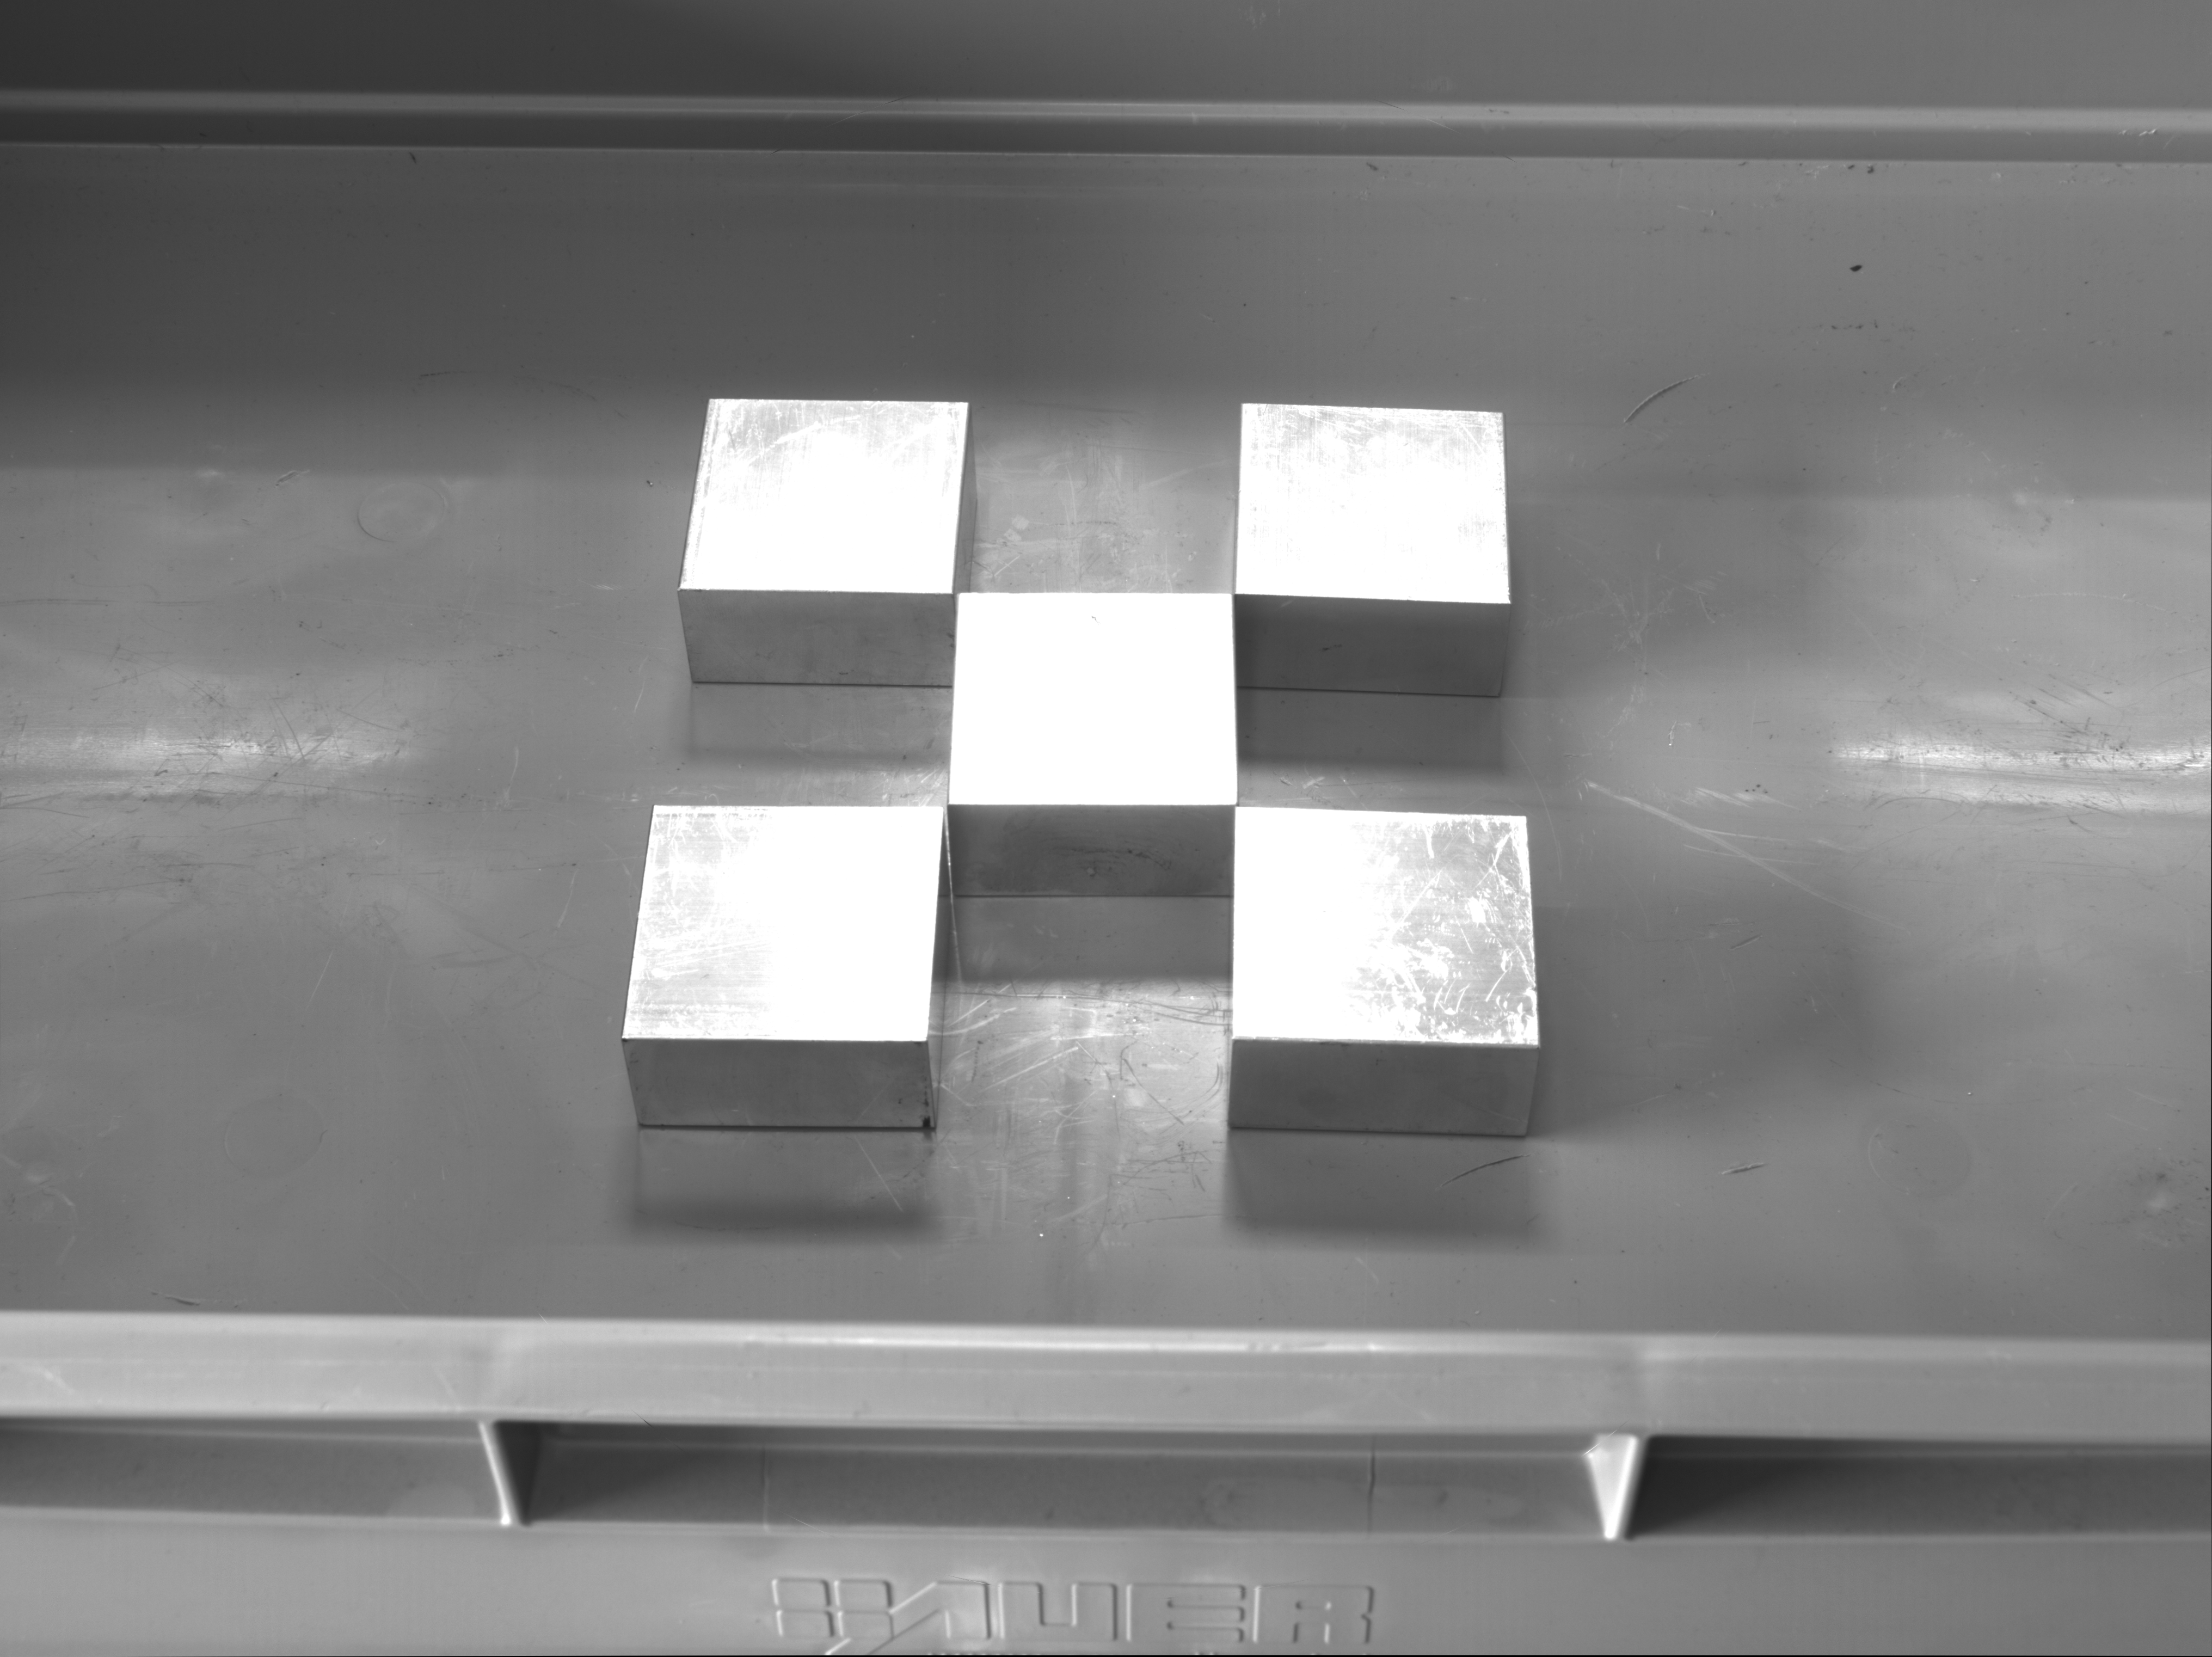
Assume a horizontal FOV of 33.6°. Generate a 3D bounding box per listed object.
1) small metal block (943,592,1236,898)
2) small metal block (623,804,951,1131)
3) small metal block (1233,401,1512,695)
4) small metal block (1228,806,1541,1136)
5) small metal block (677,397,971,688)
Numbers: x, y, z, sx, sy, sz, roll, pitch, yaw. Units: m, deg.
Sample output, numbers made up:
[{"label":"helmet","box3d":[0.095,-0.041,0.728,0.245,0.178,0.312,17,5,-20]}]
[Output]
[{"label":"small metal block","box3d":[-0.002,-0.015,0.652,0.050,0.025,0.050,0,50,0]},{"label":"small metal block","box3d":[-0.053,0.023,0.620,0.050,0.025,0.050,1,50,1]},{"label":"small metal block","box3d":[0.049,-0.053,0.684,0.050,0.025,0.050,2,50,2]},{"label":"small metal block","box3d":[0.046,0.024,0.619,0.050,0.025,0.050,1,50,1]},{"label":"small metal block","box3d":[-0.051,-0.054,0.685,0.050,0.025,0.050,1,50,1]}]
